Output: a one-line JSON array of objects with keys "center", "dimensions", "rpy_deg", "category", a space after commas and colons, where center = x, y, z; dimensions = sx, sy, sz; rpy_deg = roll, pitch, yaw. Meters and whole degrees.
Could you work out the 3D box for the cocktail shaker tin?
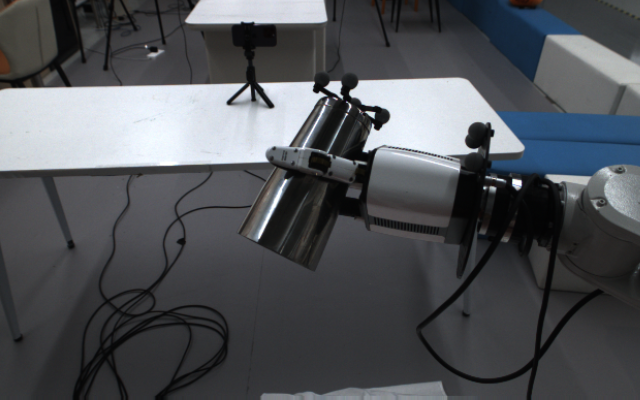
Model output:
[{"center": [-0.007, -0.023, 0.518], "dimensions": [0.093, 0.093, 0.170], "rpy_deg": [21, 81, 25], "category": "cocktail shaker tin"}]
